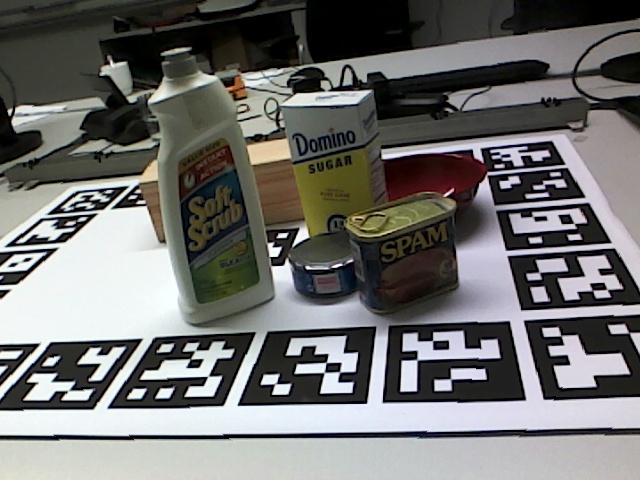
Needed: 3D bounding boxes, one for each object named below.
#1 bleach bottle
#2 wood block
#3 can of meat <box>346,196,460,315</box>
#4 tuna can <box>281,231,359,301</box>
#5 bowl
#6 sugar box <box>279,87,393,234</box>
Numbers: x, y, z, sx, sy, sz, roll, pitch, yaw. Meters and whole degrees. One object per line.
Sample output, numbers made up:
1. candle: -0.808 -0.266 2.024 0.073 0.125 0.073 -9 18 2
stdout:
1. bleach bottle: -0.113 -0.048 0.593 0.102 0.250 0.068 -17 25 -11
2. wood block: -0.124 -0.066 0.827 0.206 0.089 0.091 -8 30 3
3. can of meat: 0.082 0.014 0.588 0.101 0.083 0.058 -17 23 -16
4. tuna can: 0.005 0.026 0.637 0.086 0.033 0.086 -10 28 5
5. bowl: 0.124 -0.055 0.738 0.162 0.055 0.162 -12 24 5
6. sugar box: 0.024 -0.067 0.656 0.093 0.176 0.045 2 30 33
